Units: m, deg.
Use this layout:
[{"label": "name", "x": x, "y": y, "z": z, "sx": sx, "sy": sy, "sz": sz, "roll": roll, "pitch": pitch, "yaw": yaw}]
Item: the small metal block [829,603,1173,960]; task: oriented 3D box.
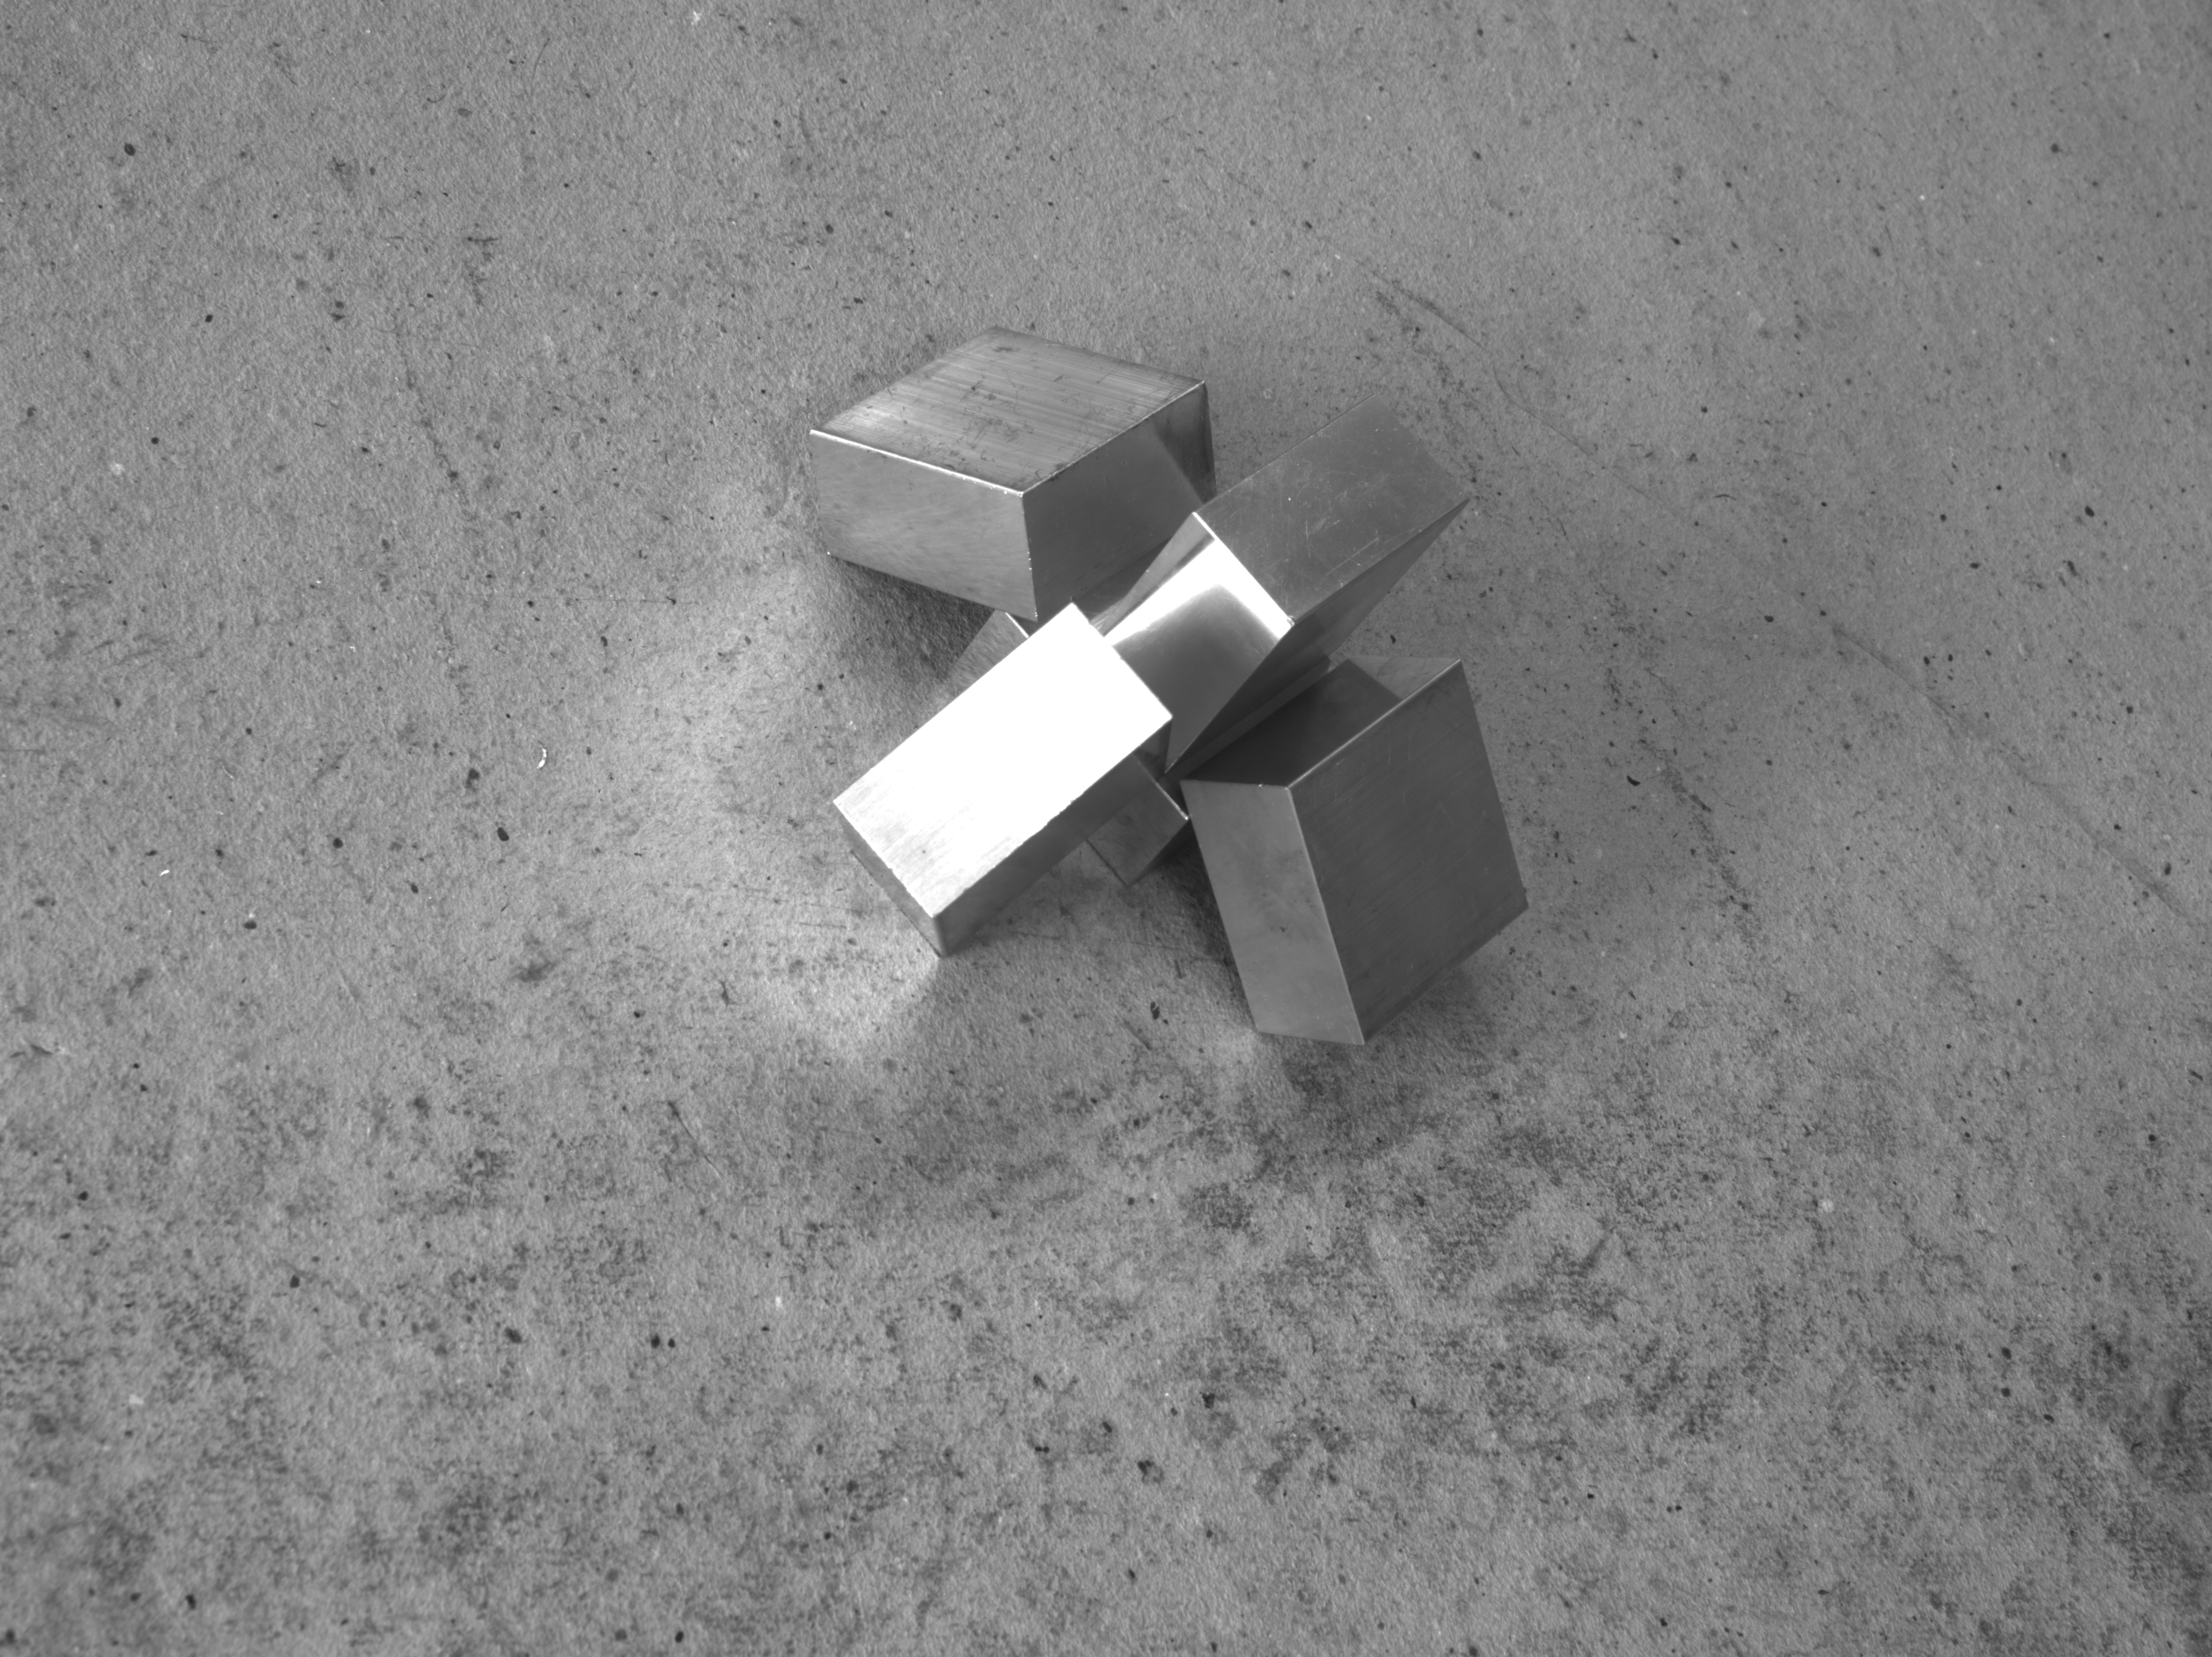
[{"label": "small metal block", "x": -0.017, "y": -0.007, "z": 0.607, "sx": 0.050, "sy": 0.050, "sz": 0.025, "roll": -40, "pitch": 84, "yaw": -6}]

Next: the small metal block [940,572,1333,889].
[{"label": "small metal block", "x": 0.008, "y": -0.026, "z": 0.661, "sx": 0.050, "sy": 0.025, "sz": 0.050, "roll": -36, "pitch": 82, "yaw": -36}]

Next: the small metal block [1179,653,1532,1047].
[{"label": "small metal block", "x": 0.044, "y": 0.003, "z": 0.646, "sx": 0.050, "sy": 0.025, "sz": 0.050, "roll": -36, "pitch": 118, "yaw": -38}]

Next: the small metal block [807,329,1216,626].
[{"label": "small metal block", "x": -0.016, "y": -0.063, "z": 0.654, "sx": 0.050, "sy": 0.025, "sz": 0.050, "roll": 20, "pitch": 41, "yaw": 36}]

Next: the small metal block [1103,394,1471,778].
[{"label": "small metal block", "x": 0.028, "y": -0.041, "z": 0.632, "sx": 0.025, "sy": 0.050, "sz": 0.050, "roll": 49, "pitch": 52, "yaw": 6}]
